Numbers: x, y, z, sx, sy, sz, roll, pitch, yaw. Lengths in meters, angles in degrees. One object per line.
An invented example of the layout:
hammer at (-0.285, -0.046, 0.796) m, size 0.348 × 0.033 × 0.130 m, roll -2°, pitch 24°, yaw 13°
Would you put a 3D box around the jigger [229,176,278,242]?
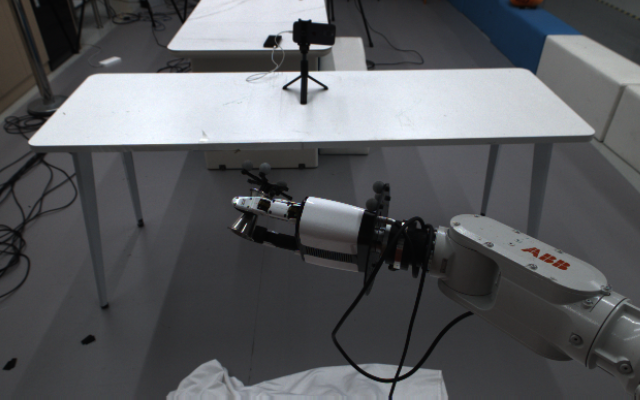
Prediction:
jigger at (-0.103, 0.019, 0.711) m, size 0.043 × 0.043 × 0.071 m, roll 21°, pitch 74°, yaw 25°
